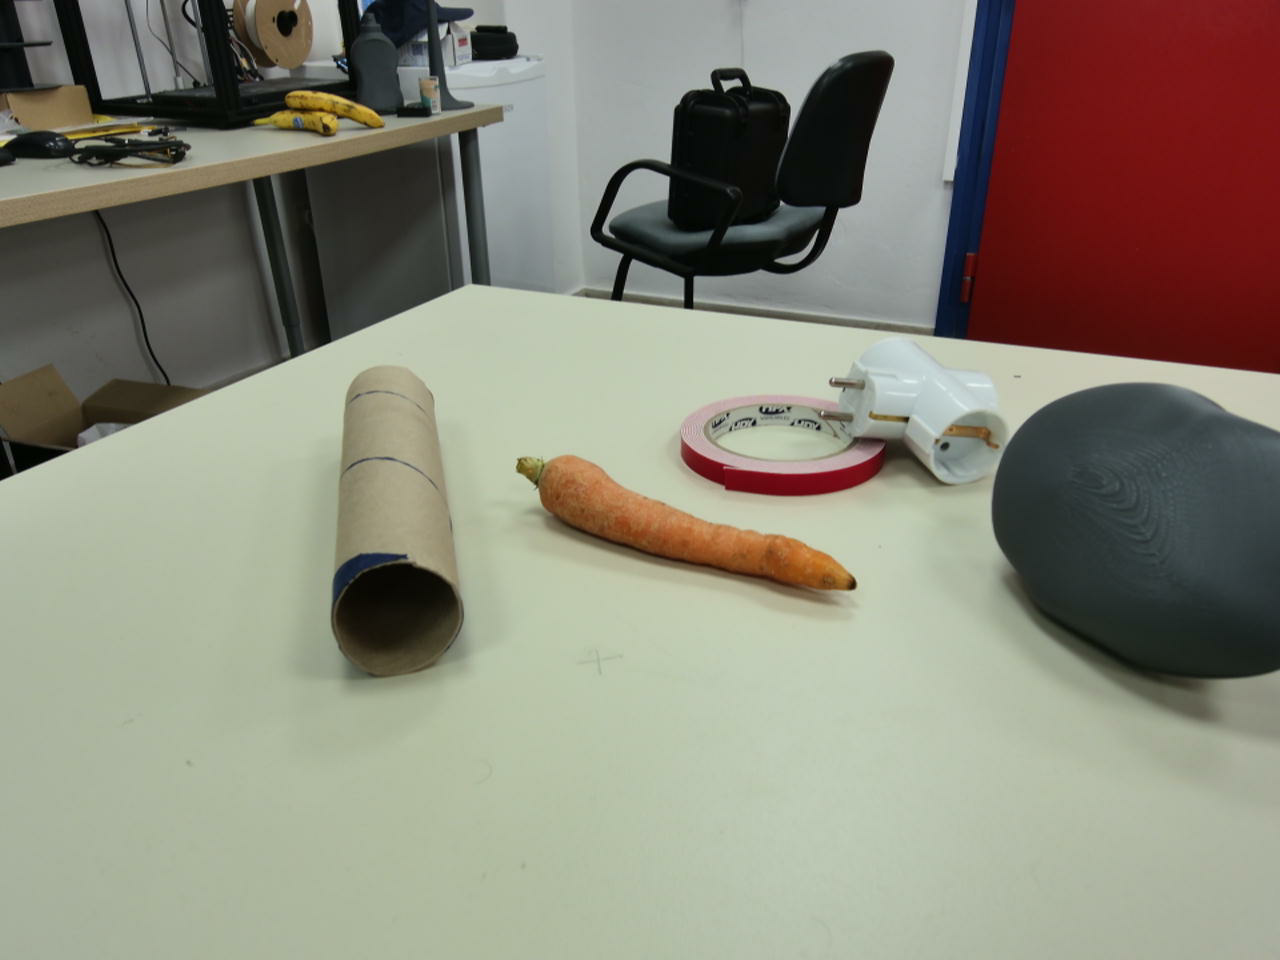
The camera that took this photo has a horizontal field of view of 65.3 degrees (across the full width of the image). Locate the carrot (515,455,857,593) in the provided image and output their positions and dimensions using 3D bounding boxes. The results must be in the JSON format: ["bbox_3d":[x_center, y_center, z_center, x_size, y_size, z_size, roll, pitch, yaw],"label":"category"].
[{"bbox_3d":[0.015,0.018,0.440,0.173,0.032,0.030,16,28,32],"label":"carrot"}]
